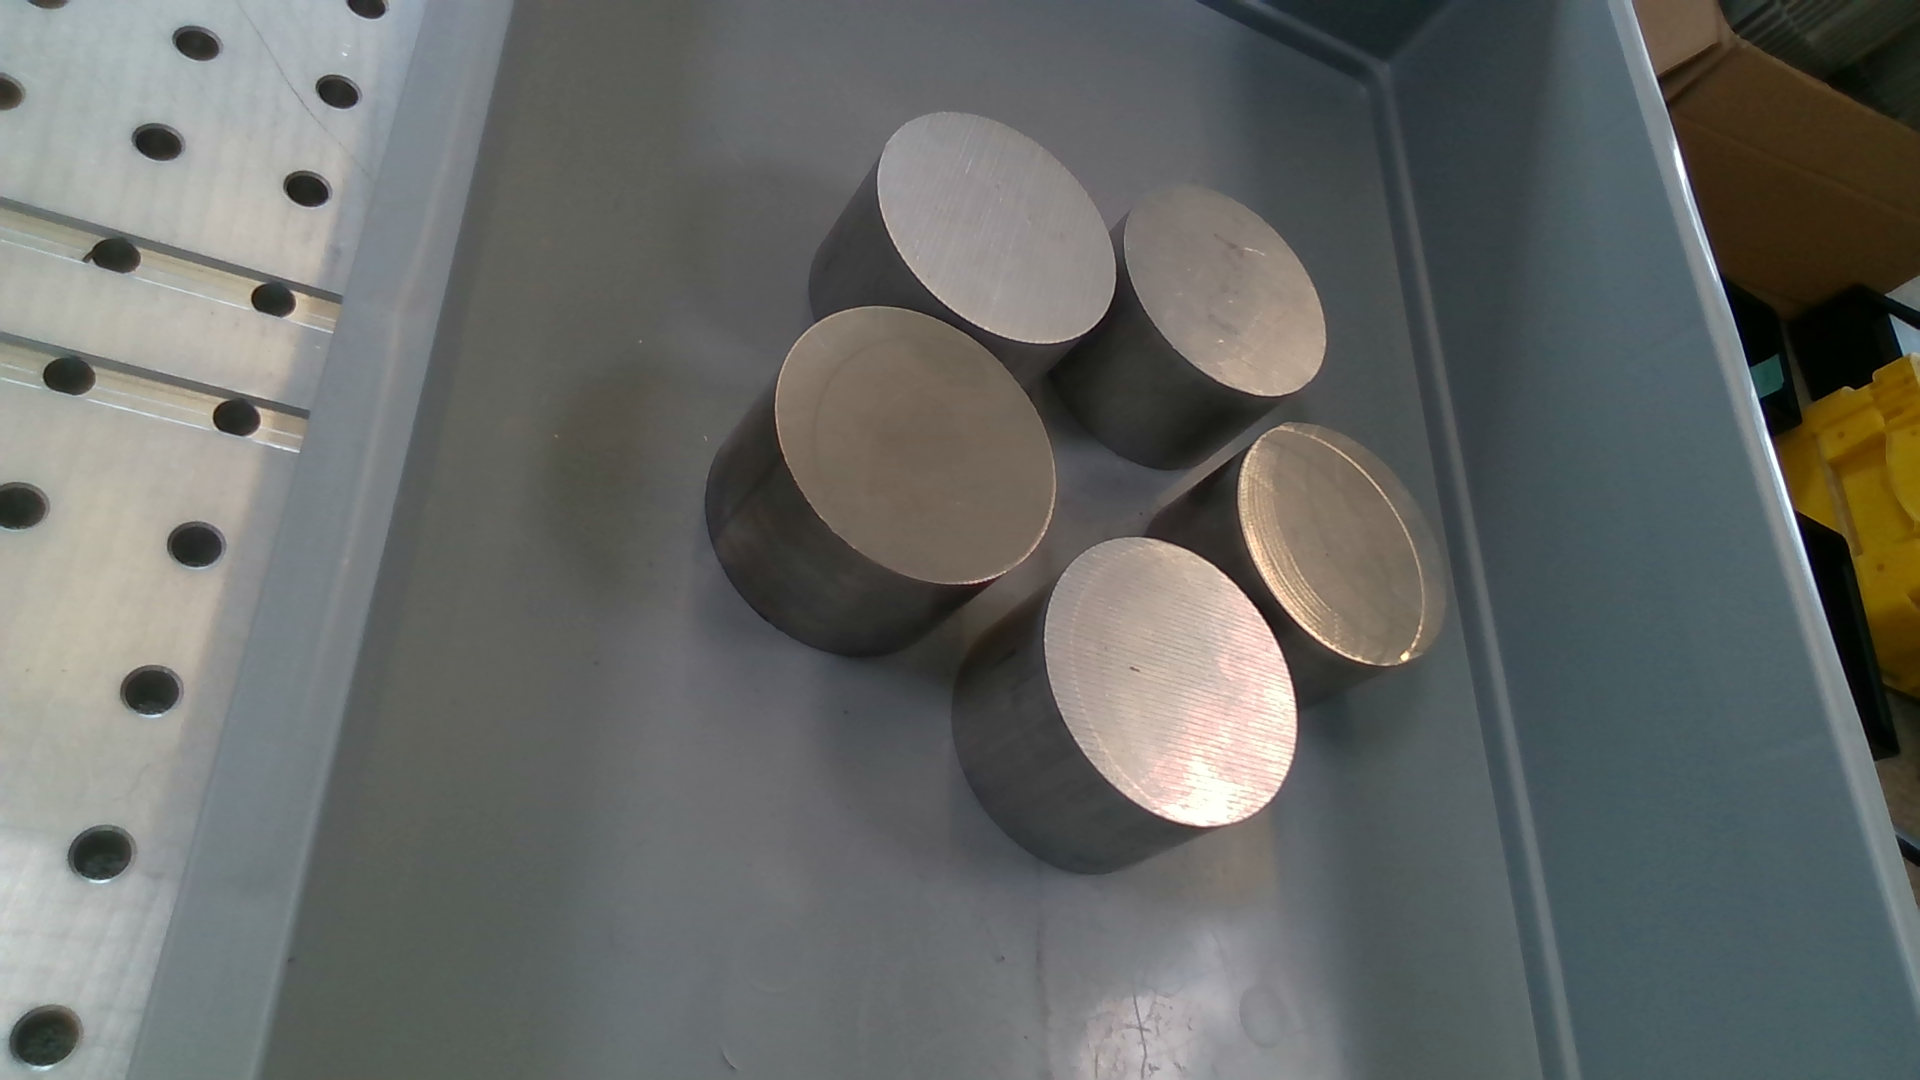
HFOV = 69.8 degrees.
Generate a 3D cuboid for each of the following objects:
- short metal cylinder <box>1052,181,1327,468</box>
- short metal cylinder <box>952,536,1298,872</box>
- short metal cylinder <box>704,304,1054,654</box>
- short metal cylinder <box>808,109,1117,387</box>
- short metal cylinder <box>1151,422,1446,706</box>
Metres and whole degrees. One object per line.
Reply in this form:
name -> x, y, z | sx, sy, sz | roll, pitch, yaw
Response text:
short metal cylinder -> 0.074, -0.071, 0.459 | 0.080, 0.050, 0.080 | 14, 59, -25
short metal cylinder -> 0.045, 0.046, 0.378 | 0.080, 0.050, 0.080 | 14, 59, -25
short metal cylinder -> -0.022, -0.015, 0.370 | 0.080, 0.050, 0.080 | 14, 59, -25
short metal cylinder -> 0.000, -0.082, 0.419 | 0.080, 0.050, 0.080 | 14, 59, -25
short metal cylinder -> 0.105, 0.010, 0.434 | 0.080, 0.050, 0.080 | 14, 59, -25
